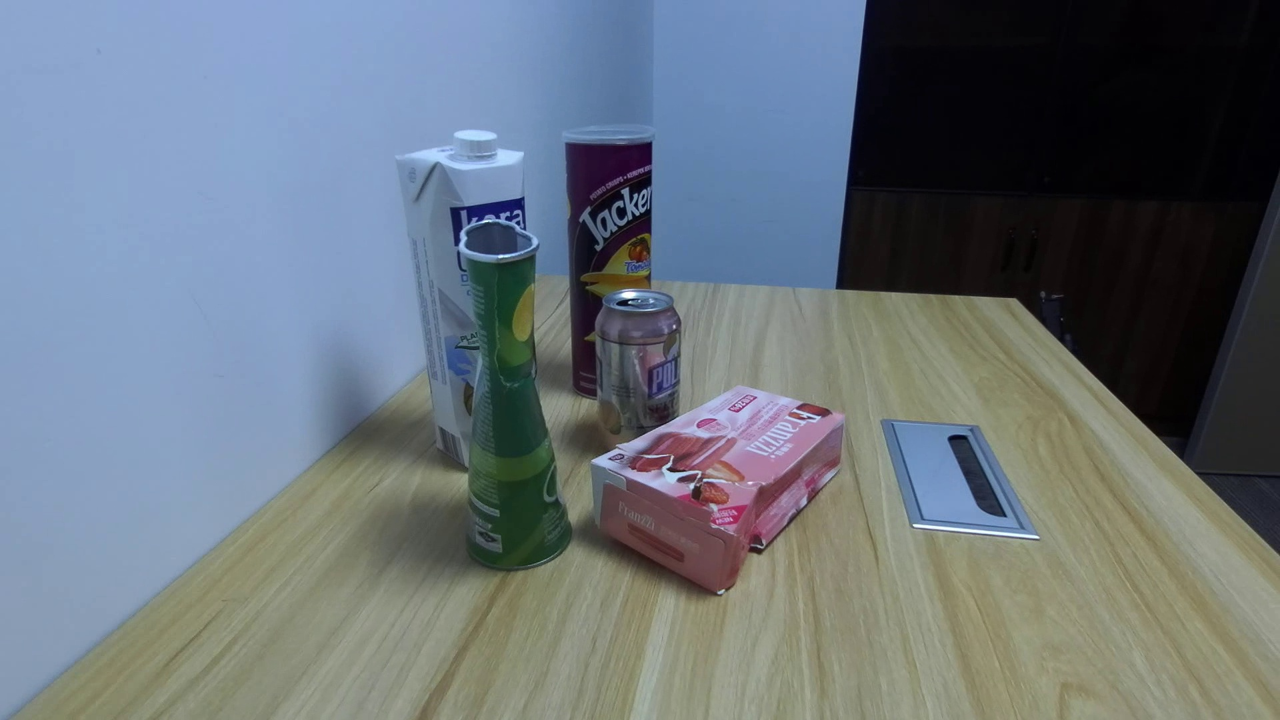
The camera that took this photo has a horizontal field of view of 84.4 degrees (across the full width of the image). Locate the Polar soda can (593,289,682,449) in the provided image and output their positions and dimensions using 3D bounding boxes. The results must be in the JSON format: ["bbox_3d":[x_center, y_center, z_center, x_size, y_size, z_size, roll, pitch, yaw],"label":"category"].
[{"bbox_3d":[0.000,0.010,0.562,0.067,0.125,0.067,1,22,0],"label":"Polar soda can"}]

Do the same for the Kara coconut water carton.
[{"bbox_3d":[-0.122,-0.044,0.530,0.077,0.245,0.075,-19,28,-38],"label":"Kara coconut water carton"}]

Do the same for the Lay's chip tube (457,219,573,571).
[{"bbox_3d":[-0.080,0.025,0.427,0.074,0.199,0.069,15,27,32],"label":"Lay's chip tube"}]

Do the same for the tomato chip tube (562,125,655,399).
[{"bbox_3d":[-0.026,-0.085,0.644,0.078,0.234,0.078,0,23,0],"label":"tomato chip tube"}]

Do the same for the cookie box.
[{"bbox_3d":[0.063,0.072,0.490,0.104,0.059,0.186,17,27,32],"label":"cookie box"}]
